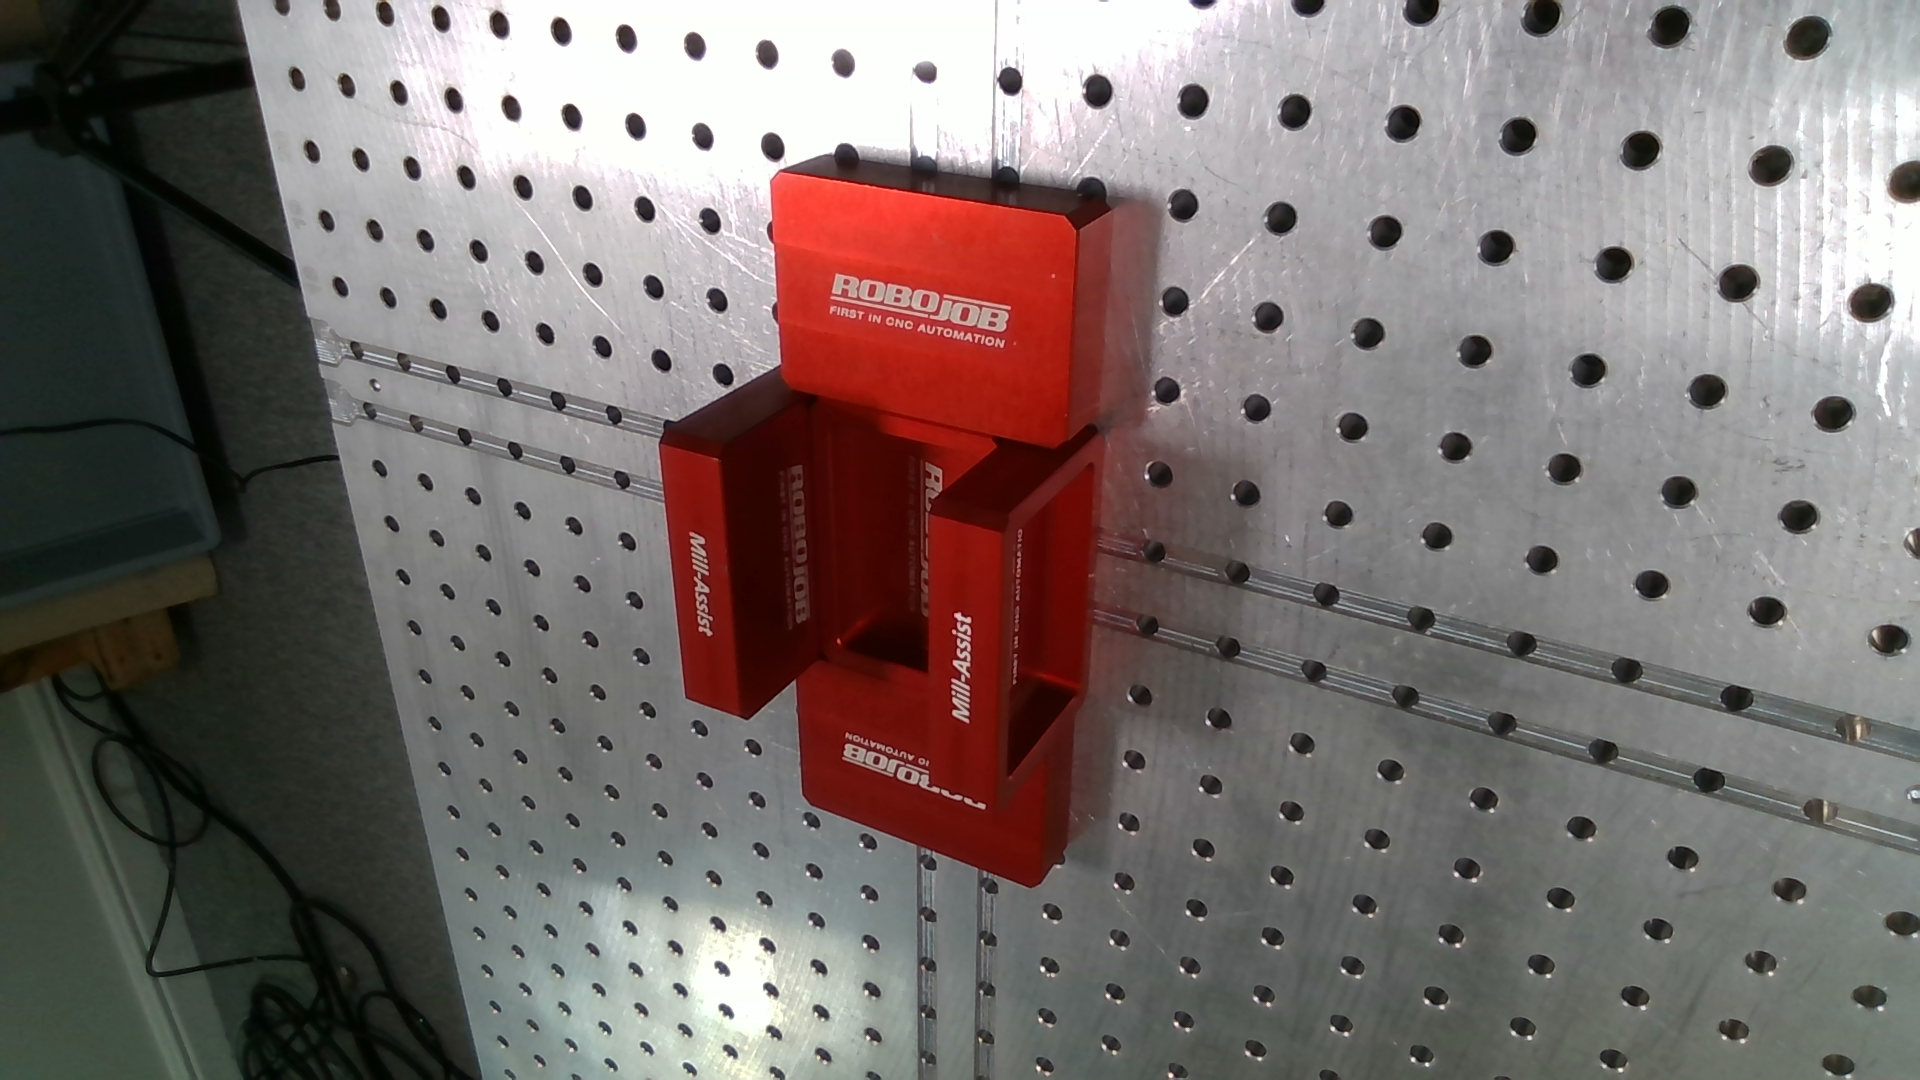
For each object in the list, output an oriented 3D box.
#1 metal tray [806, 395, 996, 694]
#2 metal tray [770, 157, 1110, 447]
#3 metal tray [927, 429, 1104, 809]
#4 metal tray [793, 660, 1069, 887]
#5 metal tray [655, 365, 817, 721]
[{"bbox_3d":[-0.017,0.002,0.589,0.090,0.030,0.130,15,122,24],"label":"metal tray"},{"bbox_3d":[-0.010,-0.094,0.534,0.130,0.030,0.090,15,122,24],"label":"metal tray"},{"bbox_3d":[0.022,0.028,0.543,0.030,0.090,0.130,15,122,24],"label":"metal tray"},{"bbox_3d":[-0.014,0.099,0.641,0.130,0.030,0.090,15,123,24],"label":"metal tray"},{"bbox_3d":[-0.085,0.000,0.591,0.030,0.090,0.130,15,122,24],"label":"metal tray"}]
